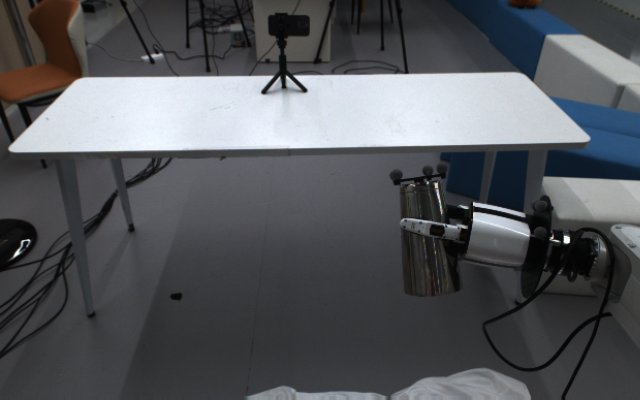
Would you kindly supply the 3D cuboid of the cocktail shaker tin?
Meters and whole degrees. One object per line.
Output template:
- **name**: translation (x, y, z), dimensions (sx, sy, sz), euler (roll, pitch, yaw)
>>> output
- **cocktail shaker tin**: translation (0.169, 0.057, 0.766), dimensions (0.093, 0.170, 0.093), euler (-8, 1, 0)
